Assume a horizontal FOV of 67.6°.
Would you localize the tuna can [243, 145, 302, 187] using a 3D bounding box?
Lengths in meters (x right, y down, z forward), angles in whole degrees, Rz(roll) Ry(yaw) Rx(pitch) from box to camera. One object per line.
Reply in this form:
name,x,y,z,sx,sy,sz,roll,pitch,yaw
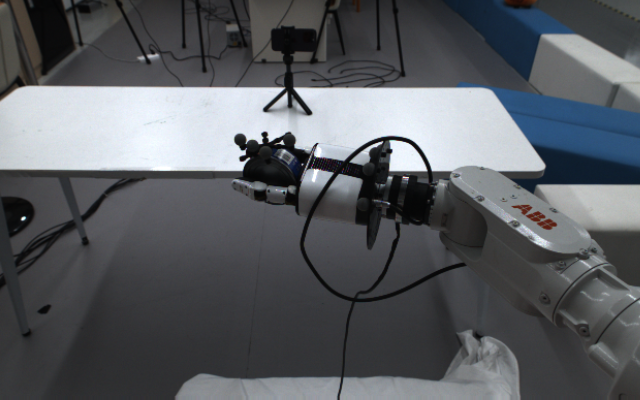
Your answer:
tuna can,-0.066,-0.037,0.710,0.085,0.085,0.034,14,40,16
